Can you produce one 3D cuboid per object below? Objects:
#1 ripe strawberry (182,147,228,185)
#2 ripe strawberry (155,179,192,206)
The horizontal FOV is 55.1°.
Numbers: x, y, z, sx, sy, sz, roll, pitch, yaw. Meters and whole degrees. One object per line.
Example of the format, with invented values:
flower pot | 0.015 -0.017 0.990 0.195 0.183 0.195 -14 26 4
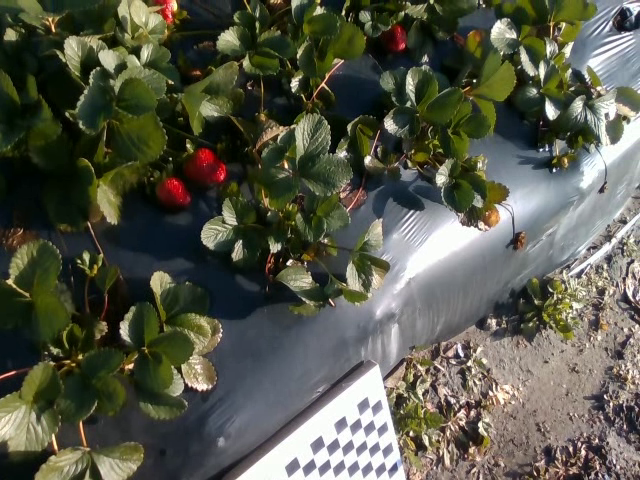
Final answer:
ripe strawberry | -0.140 -0.090 0.761 0.057 0.052 0.046 33 -2 9
ripe strawberry | -0.176 -0.055 0.736 0.051 0.043 0.036 27 5 6
